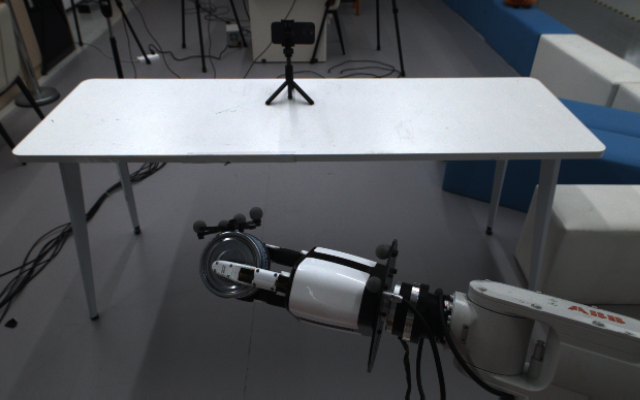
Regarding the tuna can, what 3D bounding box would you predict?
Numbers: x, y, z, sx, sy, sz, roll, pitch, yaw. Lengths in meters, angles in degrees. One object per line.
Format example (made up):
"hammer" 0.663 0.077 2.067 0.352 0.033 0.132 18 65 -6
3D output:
"tuna can" -0.105 0.088 0.614 0.085 0.085 0.034 12 -6 14
